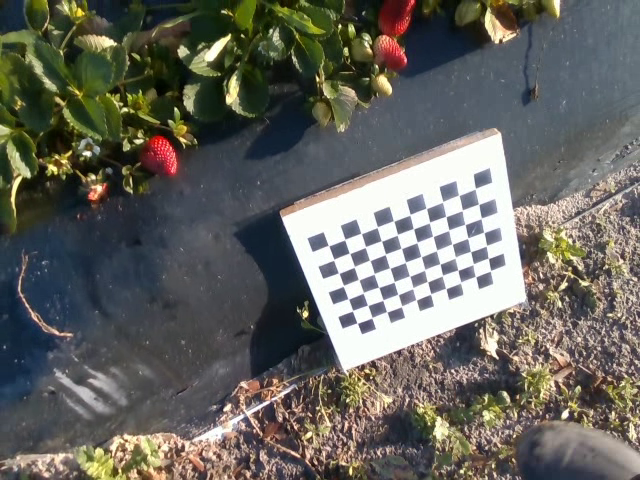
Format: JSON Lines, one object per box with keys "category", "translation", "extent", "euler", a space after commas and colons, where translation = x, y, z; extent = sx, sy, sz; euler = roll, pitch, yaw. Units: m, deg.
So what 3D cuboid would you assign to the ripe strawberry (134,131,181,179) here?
{"category": "ripe strawberry", "translation": [-0.190, -0.094, 0.690], "extent": [0.052, 0.052, 0.041], "euler": [48, 14, 31]}
